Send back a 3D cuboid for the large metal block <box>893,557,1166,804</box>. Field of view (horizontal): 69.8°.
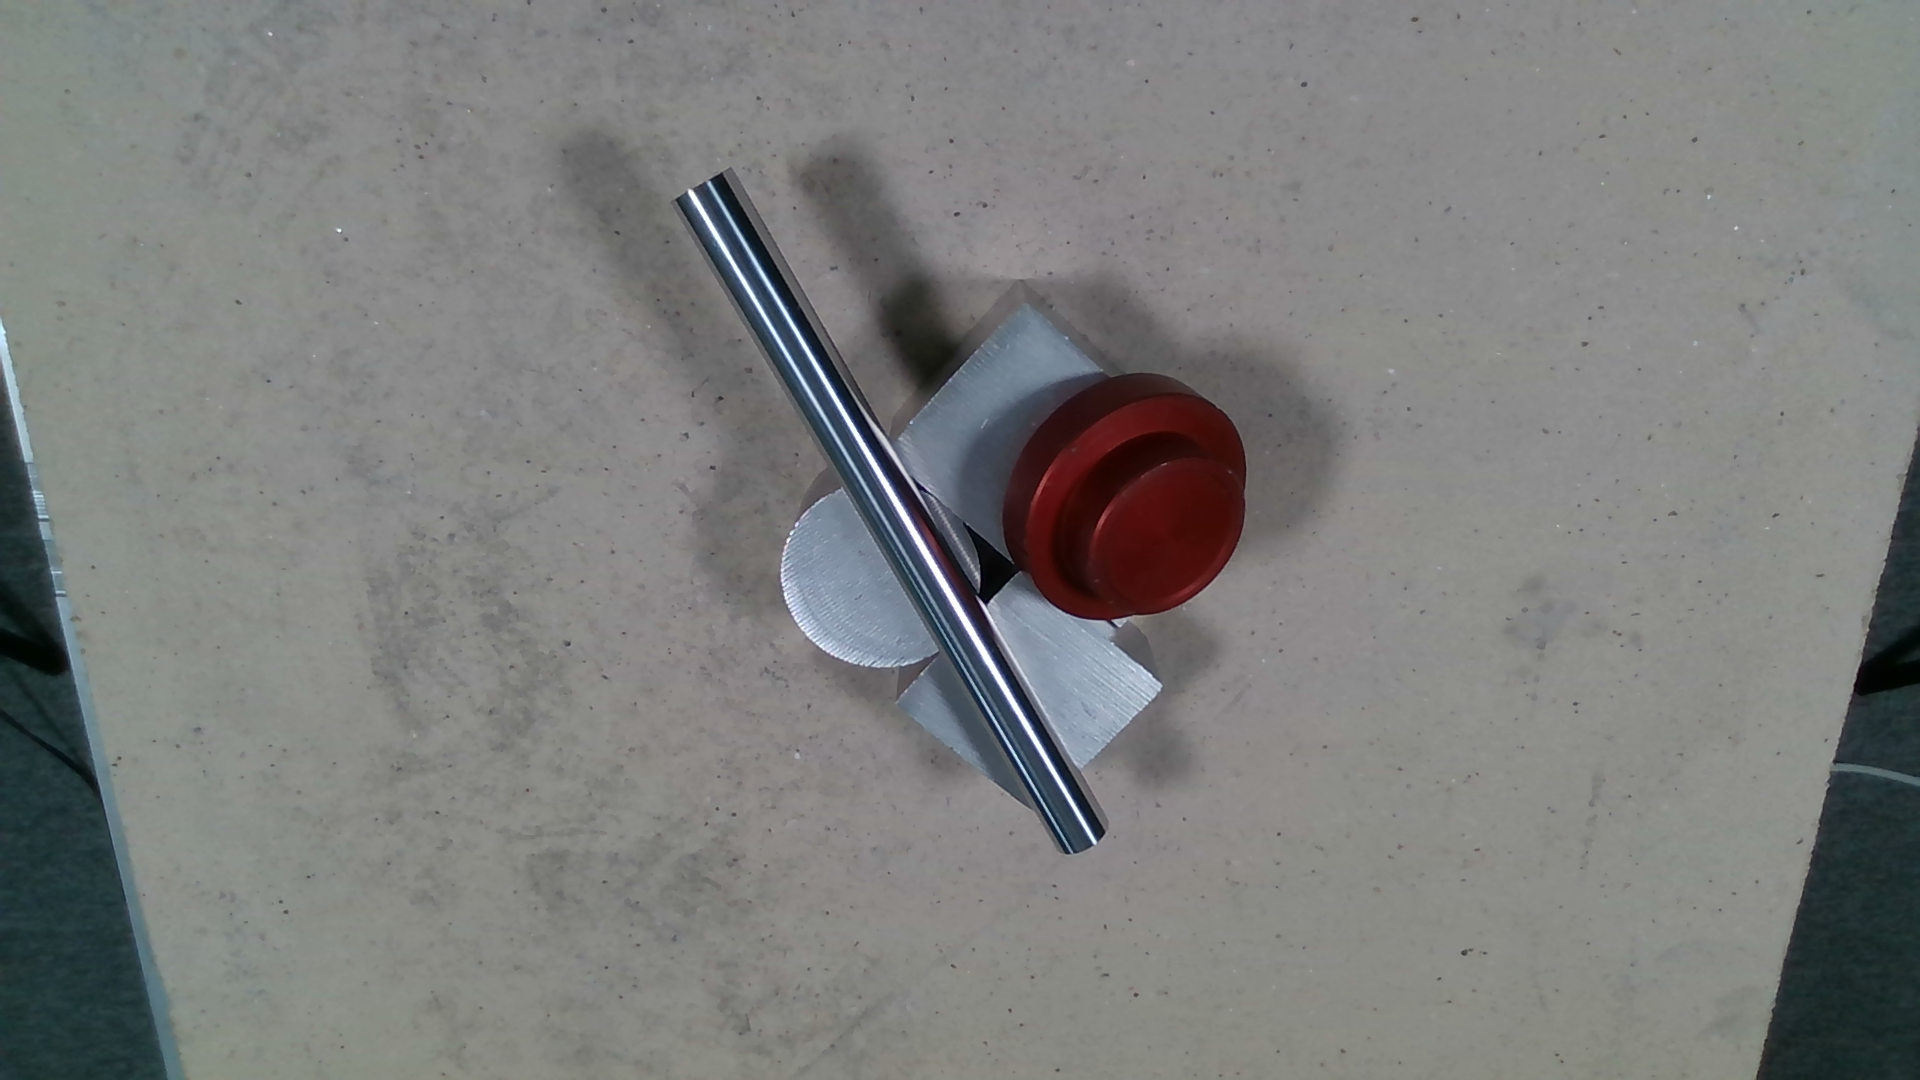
[{"bbox_3d":[0.029,0.056,0.592,0.080,0.050,0.080,39,106,-13],"label":"large metal block"}]

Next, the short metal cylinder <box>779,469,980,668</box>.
[{"bbox_3d":[-0.032,0.006,0.573,0.080,0.050,0.080,0,110,0],"label":"short metal cylinder"}]

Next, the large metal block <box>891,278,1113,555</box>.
[{"bbox_3d":[0.027,-0.046,0.553,0.080,0.050,0.080,40,105,-13],"label":"large metal block"}]

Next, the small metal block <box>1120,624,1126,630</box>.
[{"bbox_3d":[0.067,0.001,0.584,0.050,0.025,0.050,41,105,-14],"label":"small metal block"}]

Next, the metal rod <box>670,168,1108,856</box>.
[{"bbox_3d":[-0.021,-0.001,0.531,0.025,0.025,0.301,-27,108,9],"label":"metal rod"}]

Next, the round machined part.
[{"bbox_3d":[0.069,-0.011,0.524,0.098,0.042,0.098,-14,125,-21],"label":"round machined part"}]
